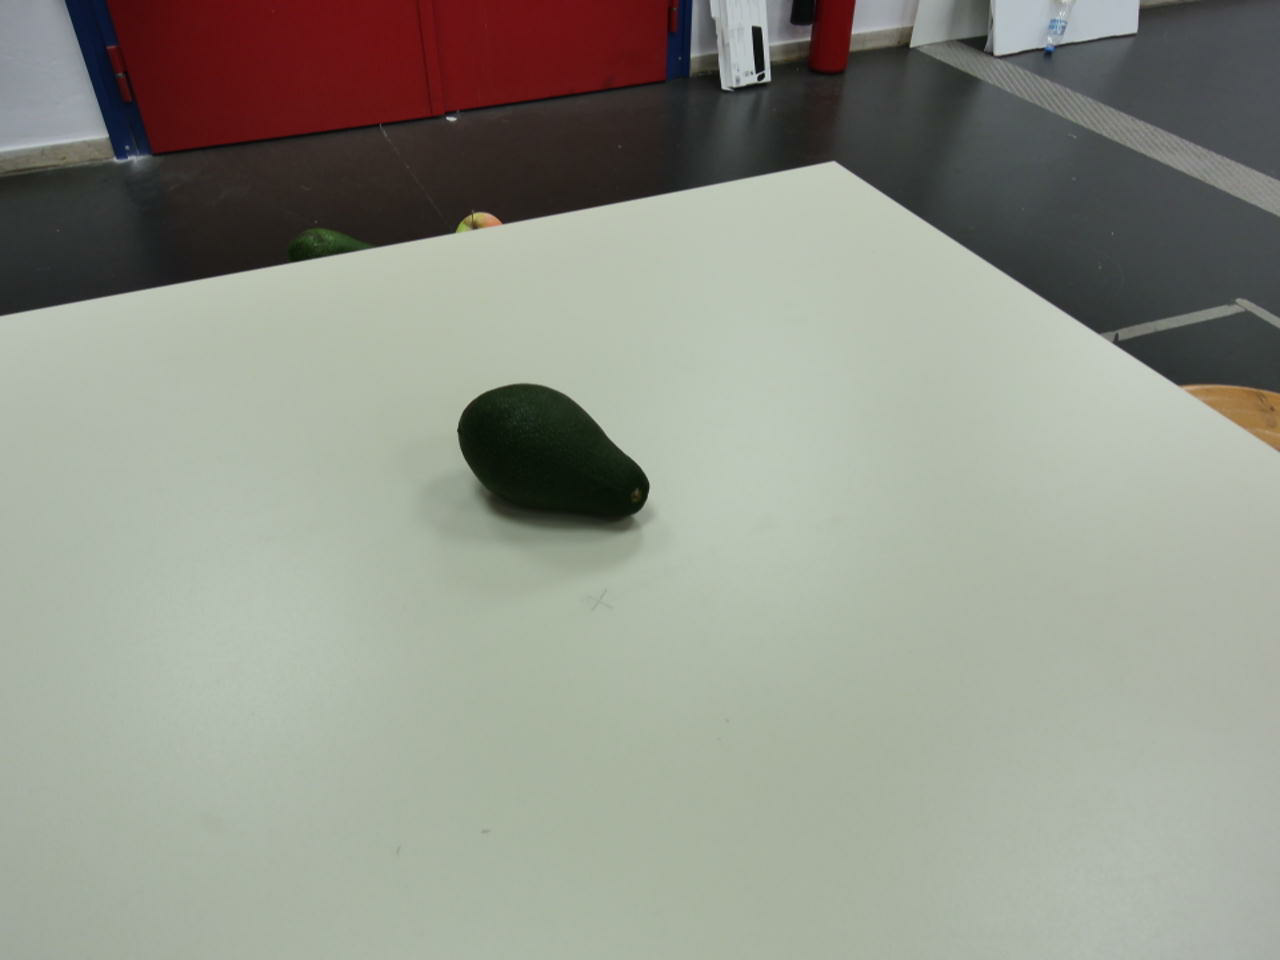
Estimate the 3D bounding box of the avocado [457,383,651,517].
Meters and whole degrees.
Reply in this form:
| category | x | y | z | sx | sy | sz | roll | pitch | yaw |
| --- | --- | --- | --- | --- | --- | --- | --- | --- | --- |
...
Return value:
| category | x | y | z | sx | sy | sz | roll | pitch | yaw |
| --- | --- | --- | --- | --- | --- | --- | --- | --- | --- |
| avocado | -0.053 | -0.014 | 0.574 | 0.109 | 0.071 | 0.072 | 30 | 47 | 31 |
